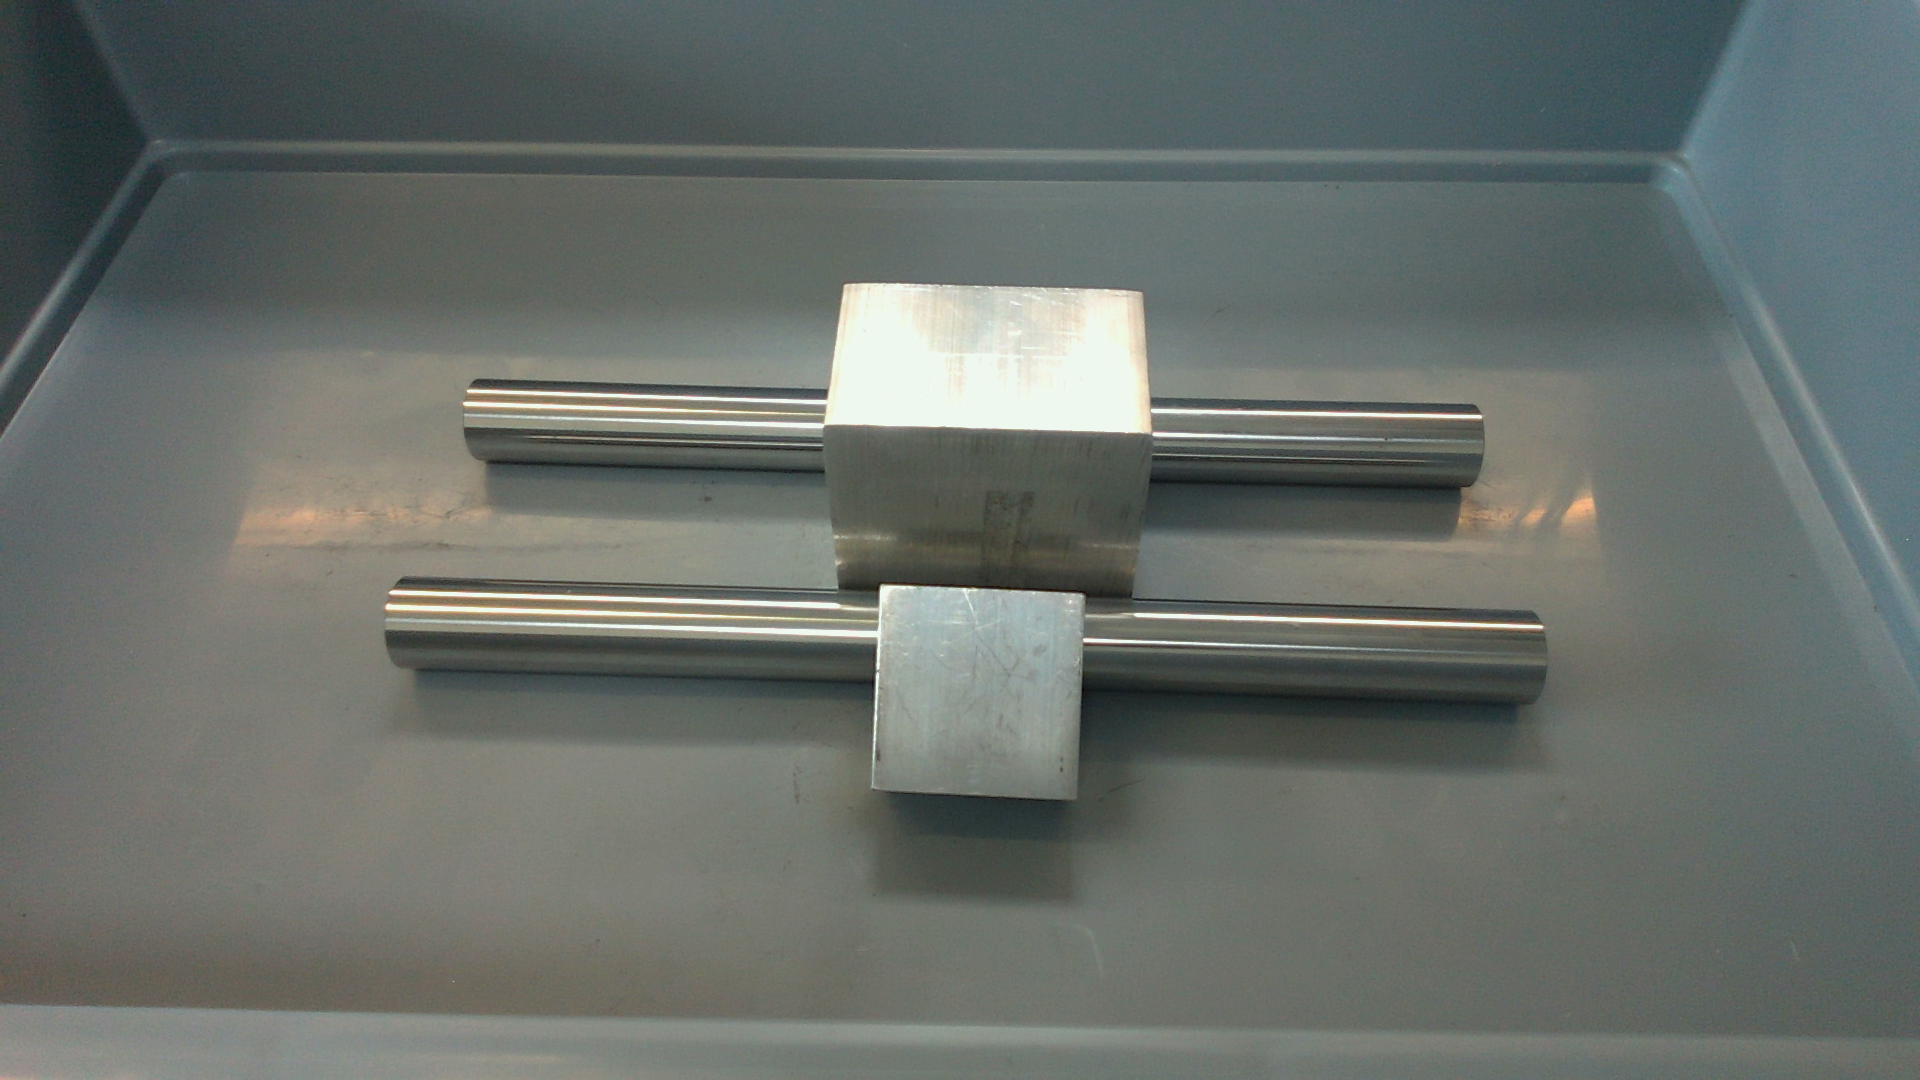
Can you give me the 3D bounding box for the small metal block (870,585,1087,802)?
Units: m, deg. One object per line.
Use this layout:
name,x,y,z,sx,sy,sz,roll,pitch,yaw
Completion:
small metal block,0.005,0.037,0.343,0.050,0.025,0.050,2,87,2

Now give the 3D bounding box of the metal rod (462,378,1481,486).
metal rod,0.003,-0.033,0.417,0.300,0.025,0.025,2,50,1

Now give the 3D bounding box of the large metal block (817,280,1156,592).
large metal block,0.007,-0.022,0.371,0.080,0.080,0.050,1,50,1

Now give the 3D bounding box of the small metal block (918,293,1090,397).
small metal block,0.013,-0.061,0.427,0.050,0.025,0.050,1,15,1

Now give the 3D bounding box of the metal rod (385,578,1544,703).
metal rod,0.000,0.027,0.368,0.300,0.025,0.025,2,50,1
